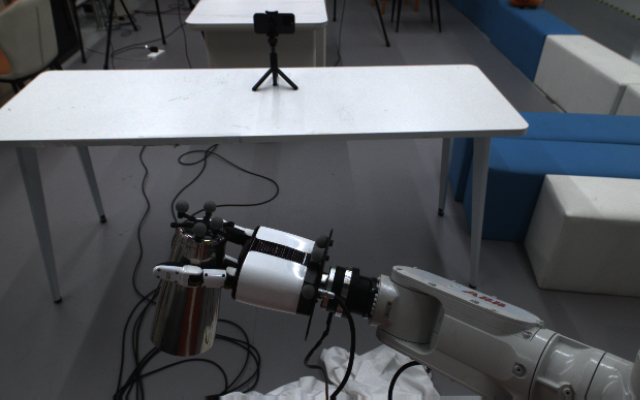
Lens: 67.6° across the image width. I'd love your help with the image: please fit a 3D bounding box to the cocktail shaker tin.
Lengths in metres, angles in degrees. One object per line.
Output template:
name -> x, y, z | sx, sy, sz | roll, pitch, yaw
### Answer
cocktail shaker tin -> -0.176, 0.115, 0.674 | 0.093, 0.170, 0.093 | 14, 19, -5
